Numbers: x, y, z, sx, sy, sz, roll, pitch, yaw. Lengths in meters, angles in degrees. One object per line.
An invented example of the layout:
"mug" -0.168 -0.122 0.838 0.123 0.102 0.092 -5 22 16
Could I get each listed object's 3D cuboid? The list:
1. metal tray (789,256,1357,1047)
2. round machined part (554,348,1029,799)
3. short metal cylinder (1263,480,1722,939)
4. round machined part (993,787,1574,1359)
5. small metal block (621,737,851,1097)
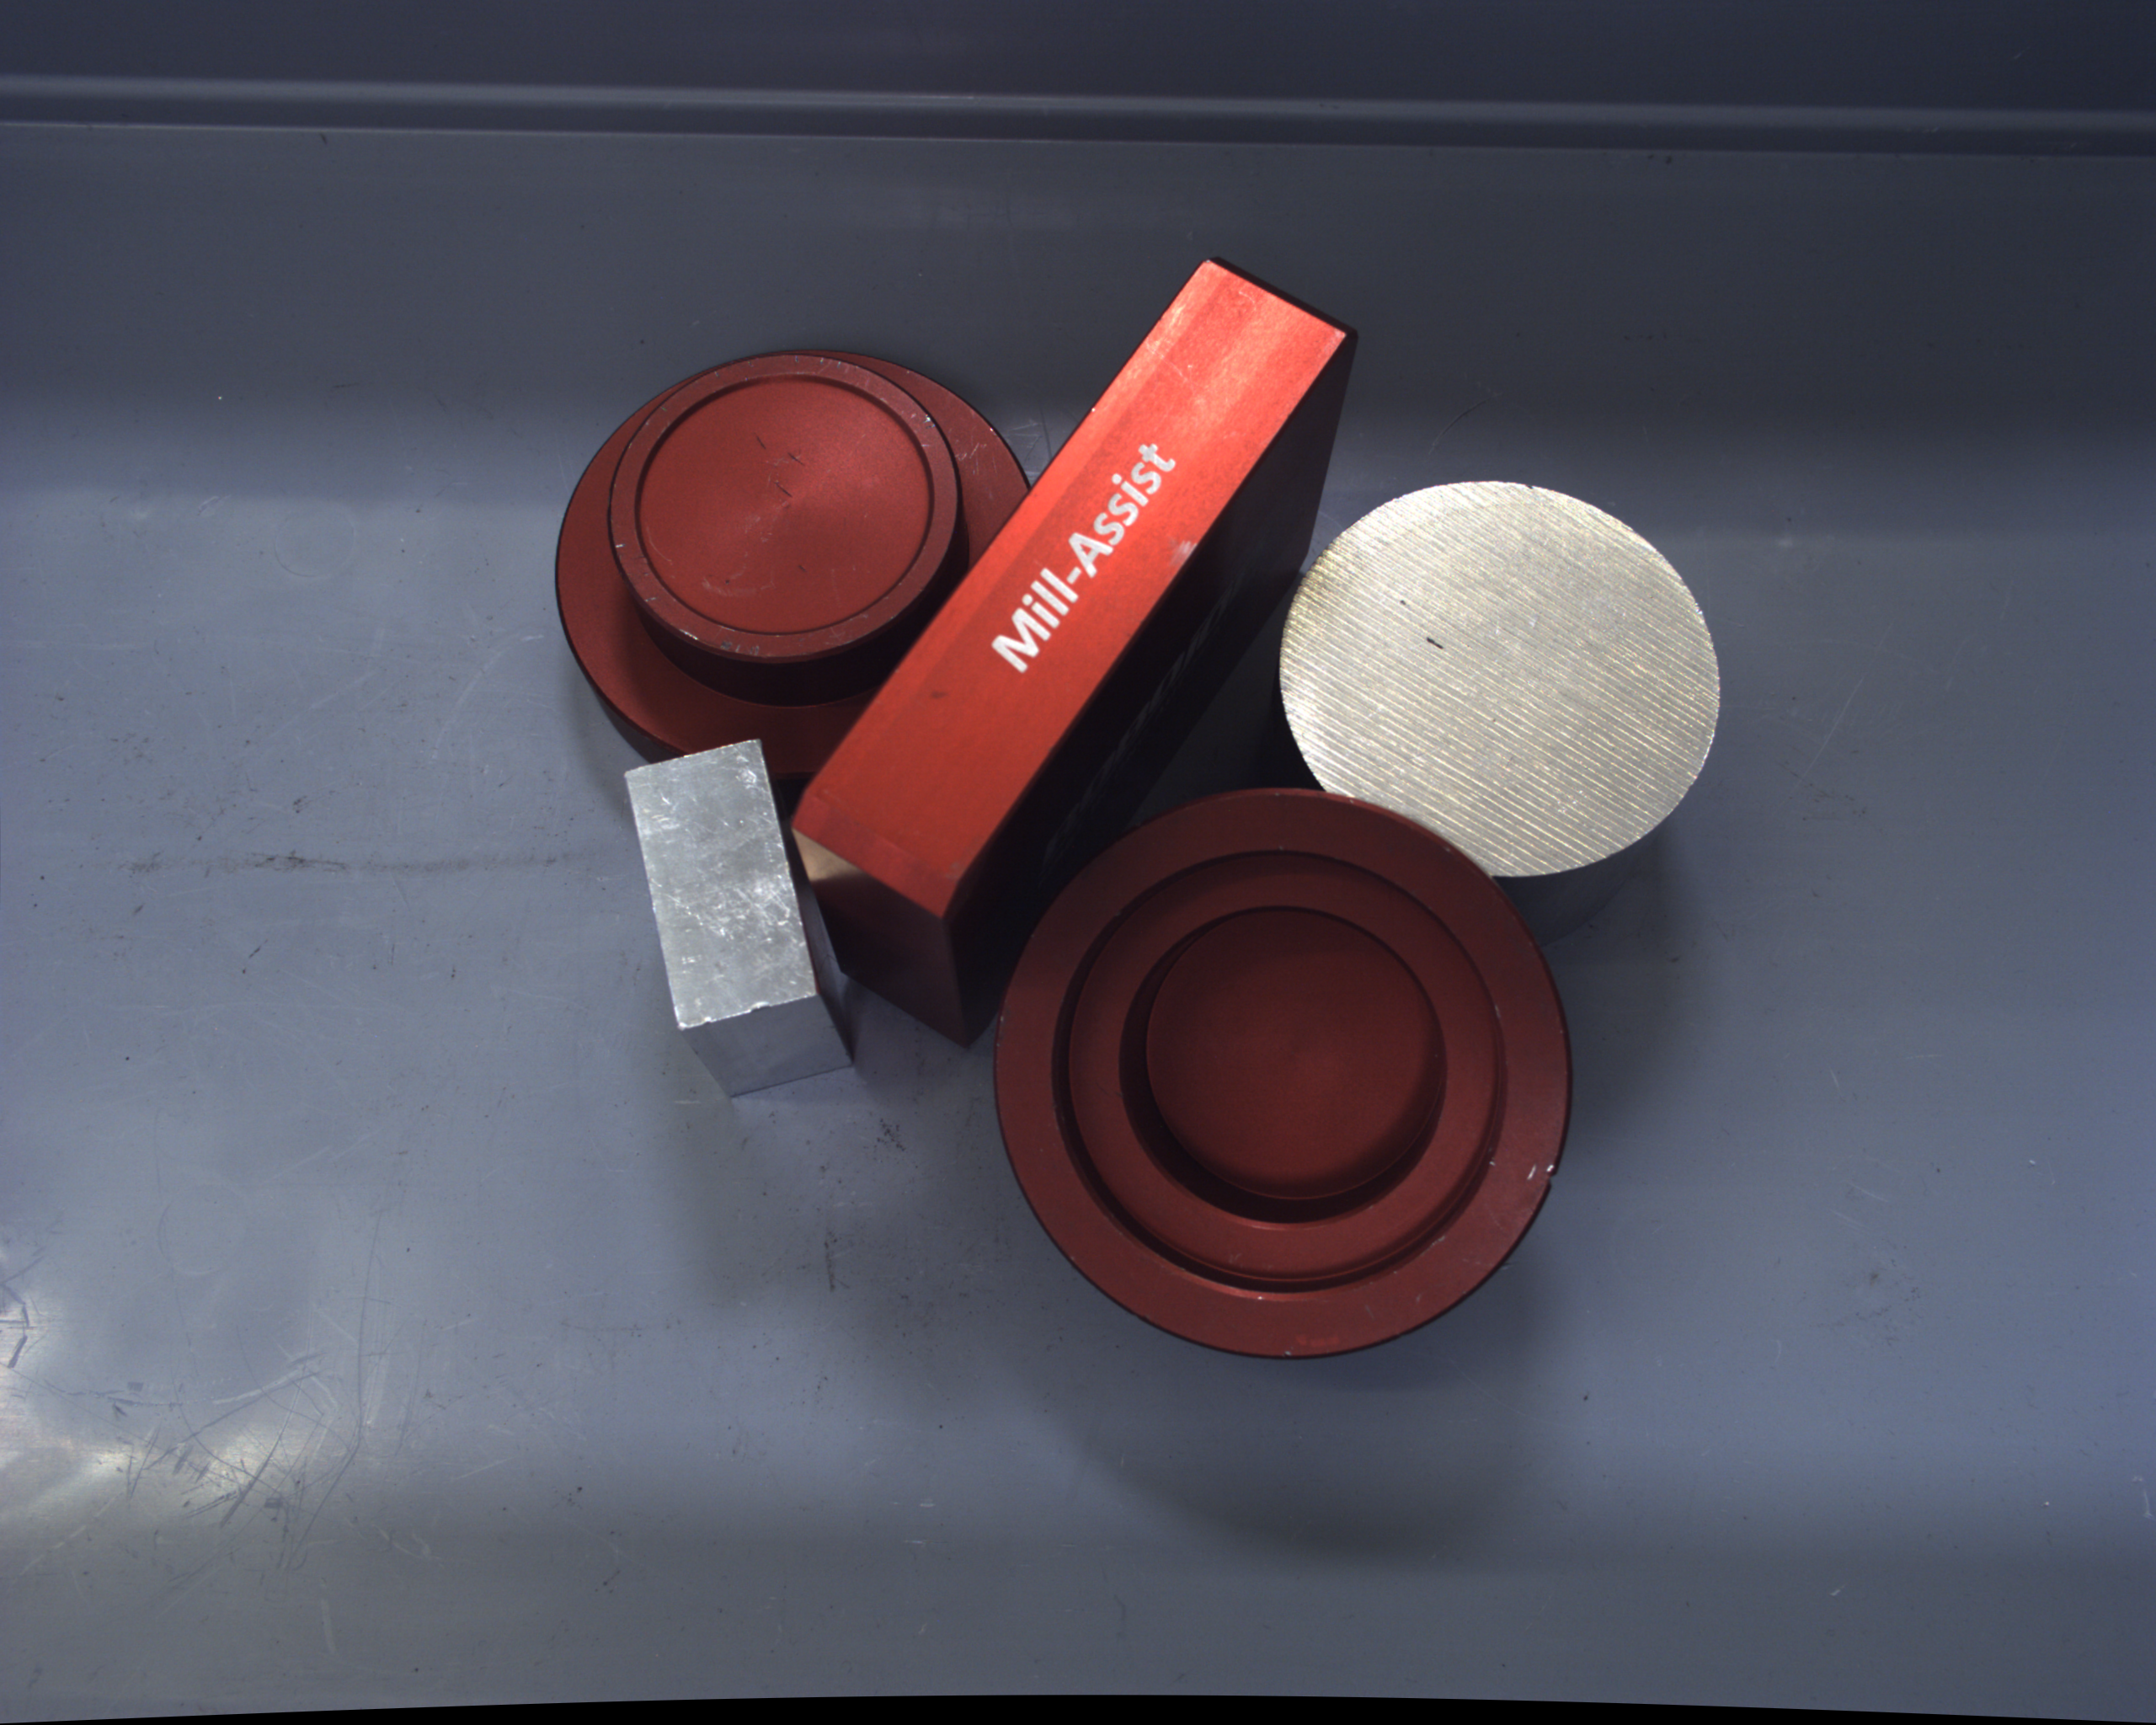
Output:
"metal tray" 0.001 -0.036 0.386 0.030 0.090 0.130 31 73 10
"round machined part" -0.056 -0.063 0.420 0.099 0.042 0.098 0 70 0
"short metal cylinder" 0.077 -0.027 0.404 0.081 0.050 0.080 0 70 0
"round machined part" 0.037 0.035 0.374 0.098 0.042 0.097 0 91 10
"small metal block" -0.063 0.011 0.389 0.025 0.050 0.050 -14 71 -5
